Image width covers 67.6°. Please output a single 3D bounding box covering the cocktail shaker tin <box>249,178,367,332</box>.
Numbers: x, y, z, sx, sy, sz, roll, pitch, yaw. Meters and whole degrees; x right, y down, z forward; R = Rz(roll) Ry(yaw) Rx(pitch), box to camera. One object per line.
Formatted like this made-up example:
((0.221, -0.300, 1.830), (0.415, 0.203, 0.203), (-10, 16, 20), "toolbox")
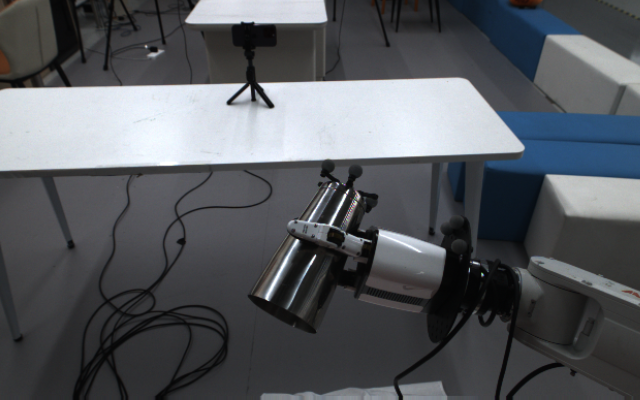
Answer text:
((-0.005, 0.061, 0.590), (0.093, 0.093, 0.170), (18, 66, 22), "cocktail shaker tin")
